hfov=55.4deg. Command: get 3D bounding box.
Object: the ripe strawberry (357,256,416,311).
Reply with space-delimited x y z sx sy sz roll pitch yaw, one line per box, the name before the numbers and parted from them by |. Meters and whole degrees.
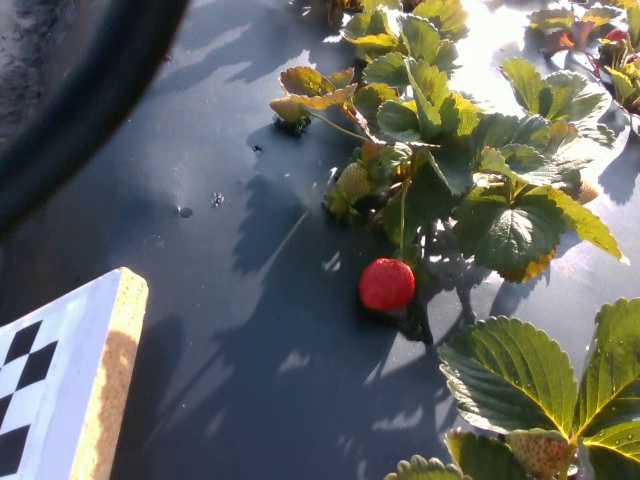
ripe strawberry | 0.035 0.028 0.329 0.030 0.033 0.044 -1 25 45
